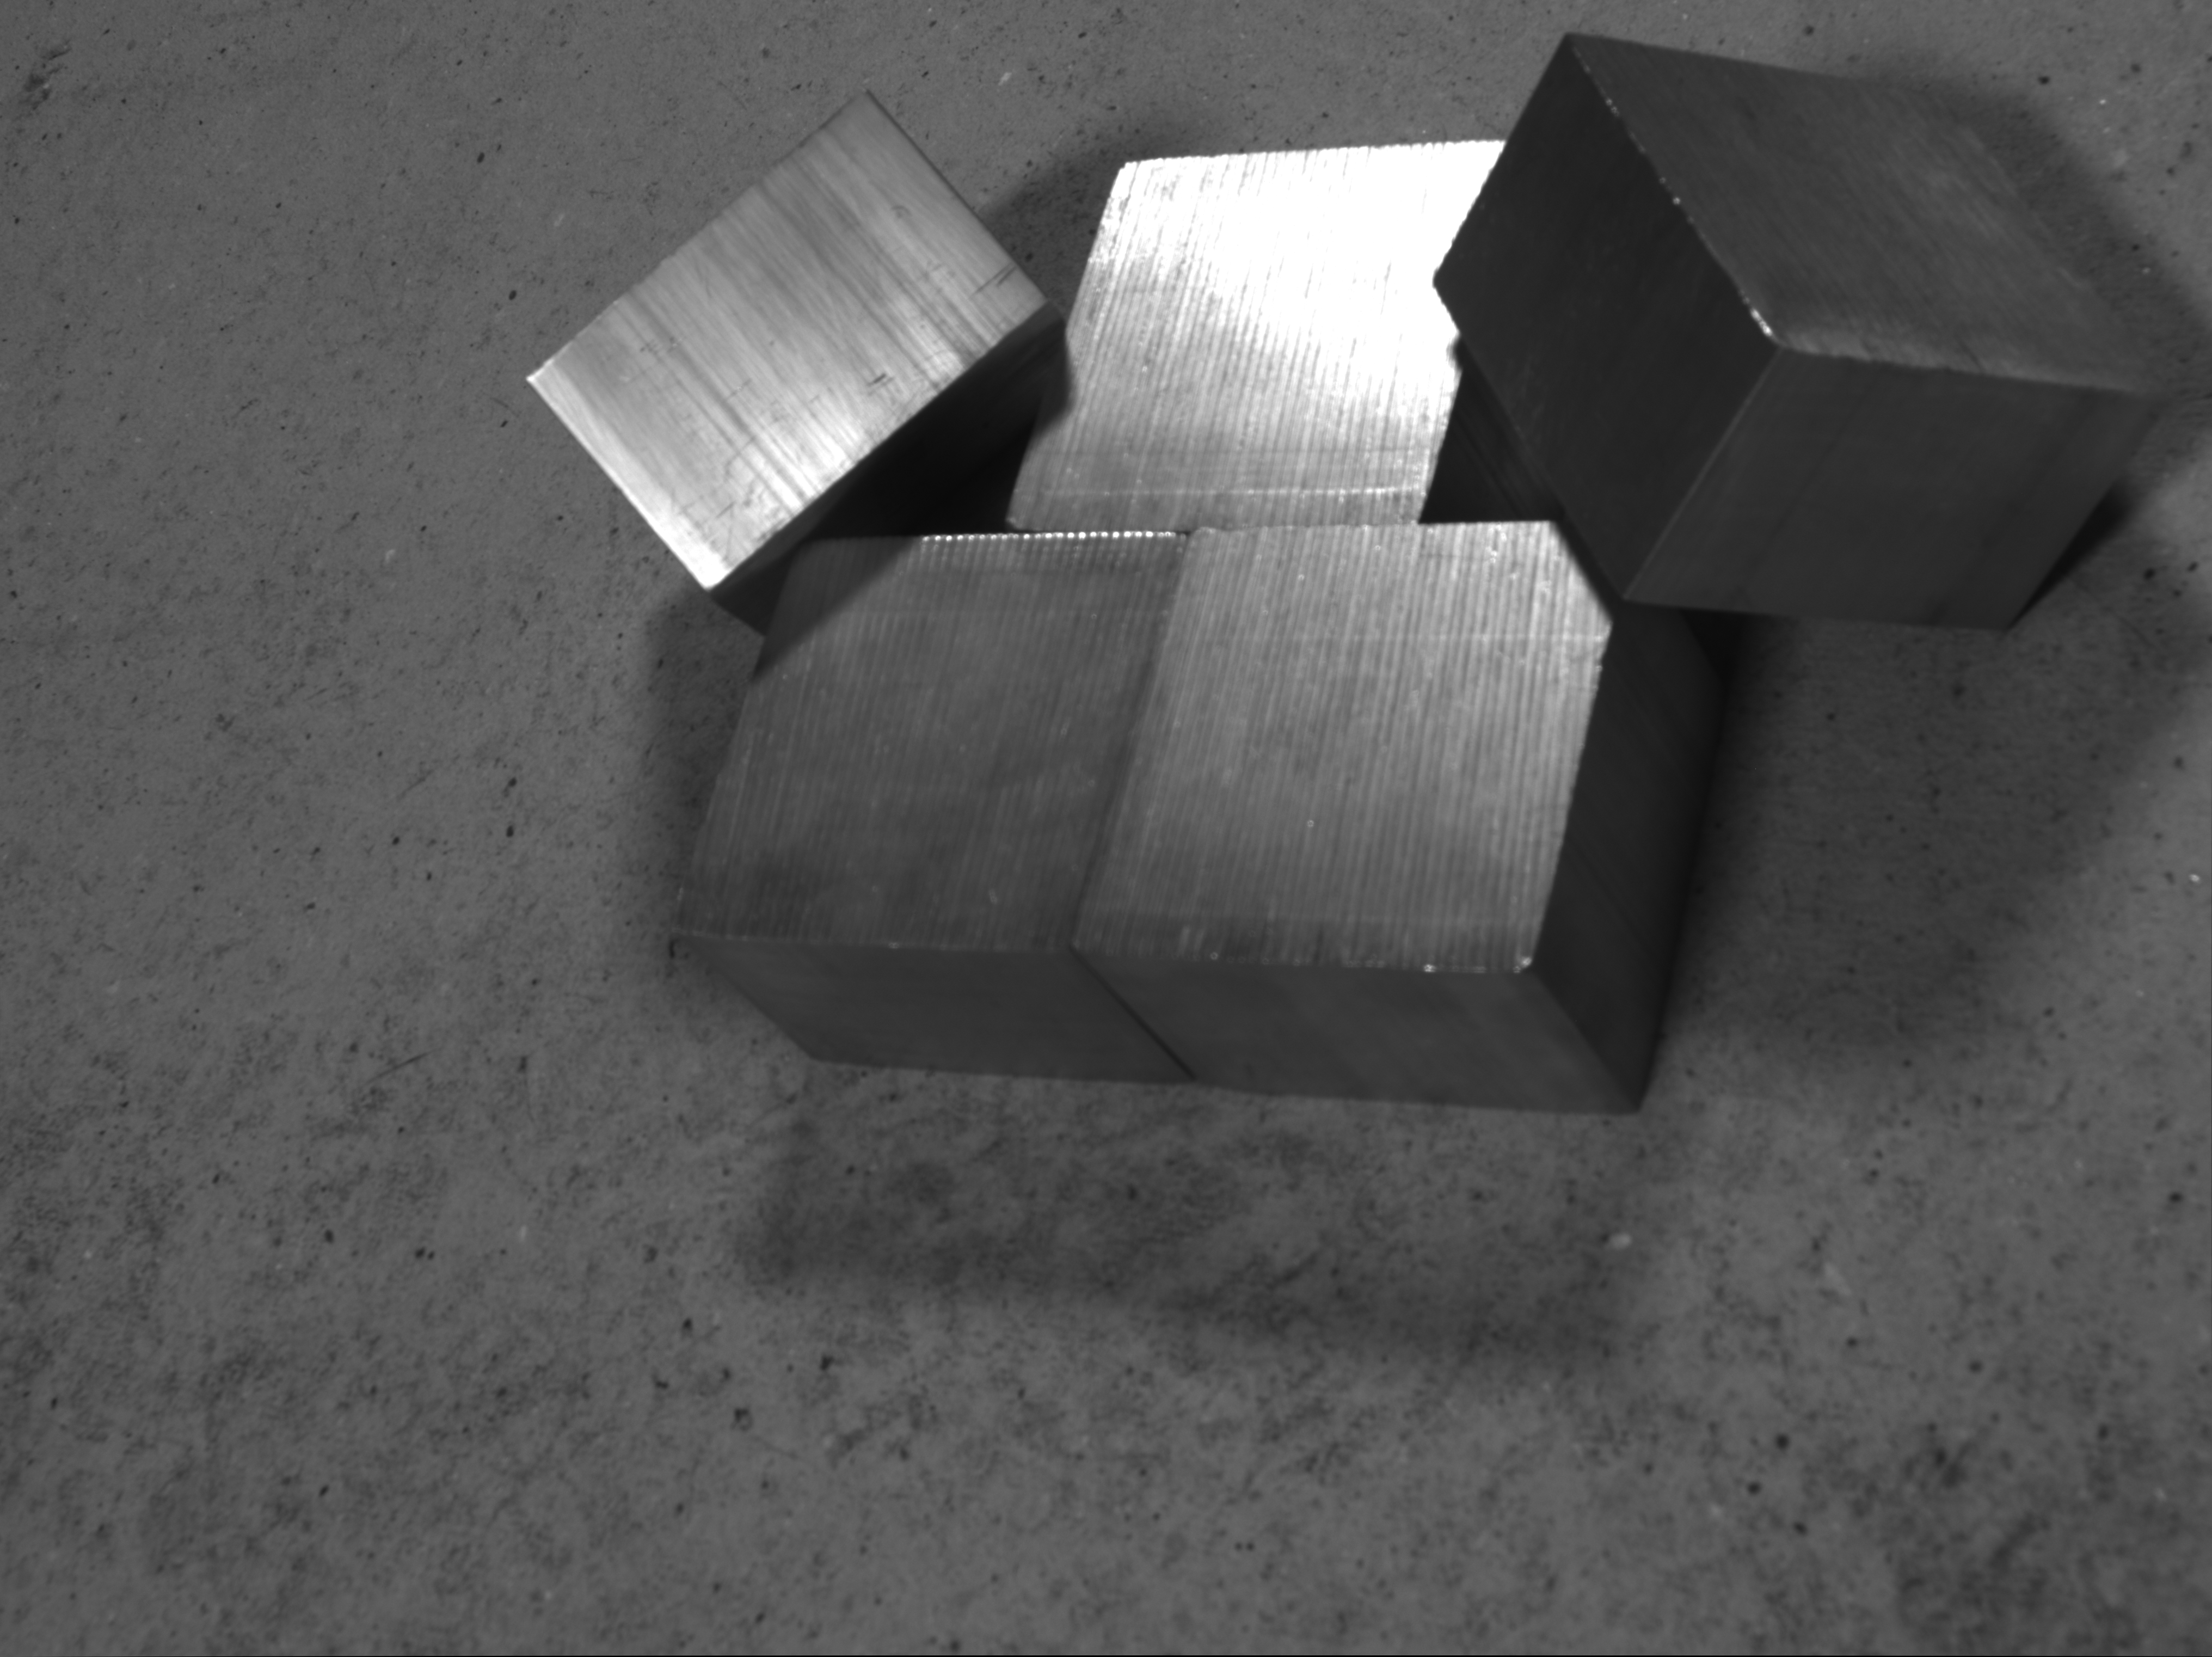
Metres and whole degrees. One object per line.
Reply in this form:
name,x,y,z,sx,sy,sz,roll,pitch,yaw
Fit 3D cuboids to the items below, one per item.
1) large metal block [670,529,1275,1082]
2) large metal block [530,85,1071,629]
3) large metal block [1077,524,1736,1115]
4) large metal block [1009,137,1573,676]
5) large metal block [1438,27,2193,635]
large metal block,-0.019,-0.004,0.640,0.080,0.050,0.080,1,62,29
large metal block,-0.052,-0.083,0.679,0.080,0.080,0.050,-40,85,1
large metal block,0.051,-0.002,0.600,0.080,0.050,0.080,1,62,29
large metal block,0.039,-0.074,0.653,0.080,0.050,0.080,3,63,30
large metal block,0.112,-0.079,0.590,0.050,0.080,0.080,-62,39,38
